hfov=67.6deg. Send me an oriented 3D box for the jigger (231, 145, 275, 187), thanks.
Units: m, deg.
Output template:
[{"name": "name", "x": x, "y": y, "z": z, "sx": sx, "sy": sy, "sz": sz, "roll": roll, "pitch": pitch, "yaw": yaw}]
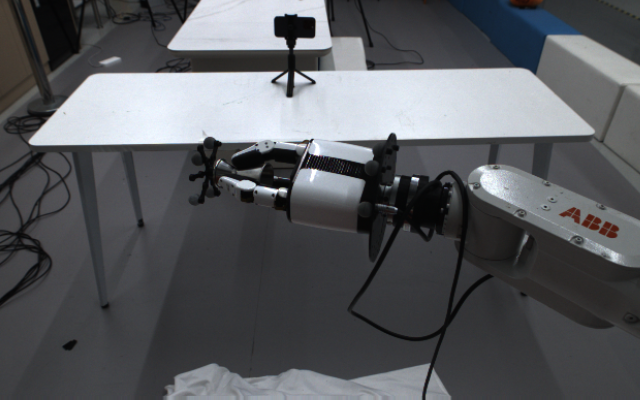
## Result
[{"name": "jigger", "x": -0.094, "y": -0.034, "z": 0.634, "sx": 0.071, "sy": 0.043, "sz": 0.043, "roll": 8, "pitch": 35, "yaw": 17}]
